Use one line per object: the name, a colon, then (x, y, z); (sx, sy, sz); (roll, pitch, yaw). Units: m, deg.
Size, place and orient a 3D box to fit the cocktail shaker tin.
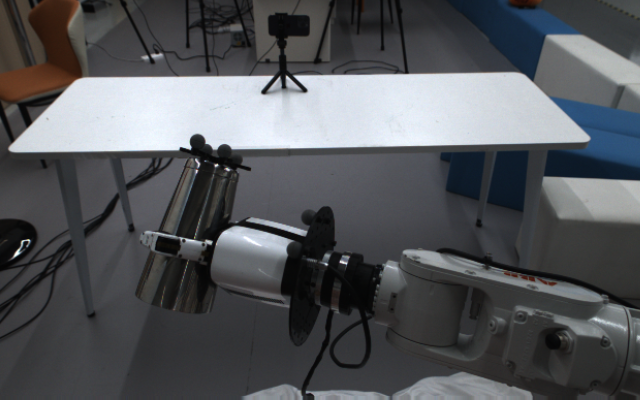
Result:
cocktail shaker tin: (-0.151, 0.041, 0.583); (0.093, 0.170, 0.093); (15, -4, 1)
